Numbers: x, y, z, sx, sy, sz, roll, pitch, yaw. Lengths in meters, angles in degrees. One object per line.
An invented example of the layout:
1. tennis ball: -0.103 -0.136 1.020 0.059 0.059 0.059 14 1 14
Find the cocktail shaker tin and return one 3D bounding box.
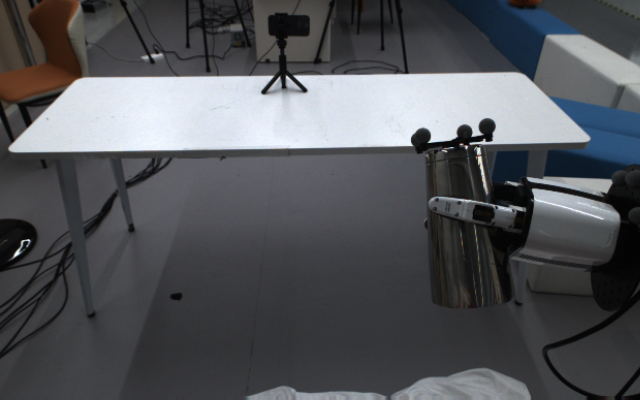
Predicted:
1. cocktail shaker tin: 0.164 0.027 0.550 0.093 0.170 0.093 -8 1 0
